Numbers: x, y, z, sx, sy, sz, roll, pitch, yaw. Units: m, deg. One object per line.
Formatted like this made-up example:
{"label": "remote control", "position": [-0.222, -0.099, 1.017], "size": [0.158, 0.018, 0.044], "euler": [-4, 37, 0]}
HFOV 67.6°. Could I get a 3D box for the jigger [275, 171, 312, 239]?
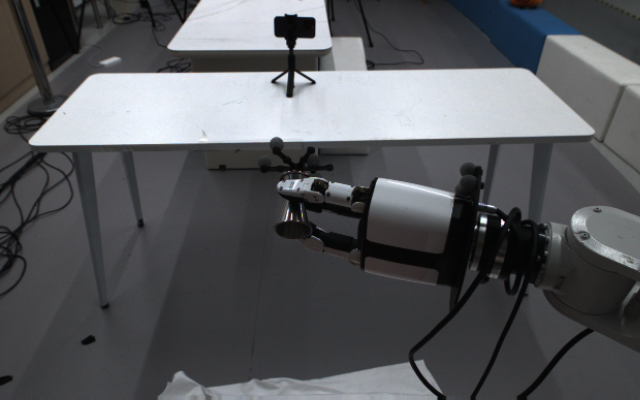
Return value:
{"label": "jigger", "position": [-0.029, 0.003, 0.557], "size": [0.043, 0.043, 0.071], "euler": [2, 59, -1]}
